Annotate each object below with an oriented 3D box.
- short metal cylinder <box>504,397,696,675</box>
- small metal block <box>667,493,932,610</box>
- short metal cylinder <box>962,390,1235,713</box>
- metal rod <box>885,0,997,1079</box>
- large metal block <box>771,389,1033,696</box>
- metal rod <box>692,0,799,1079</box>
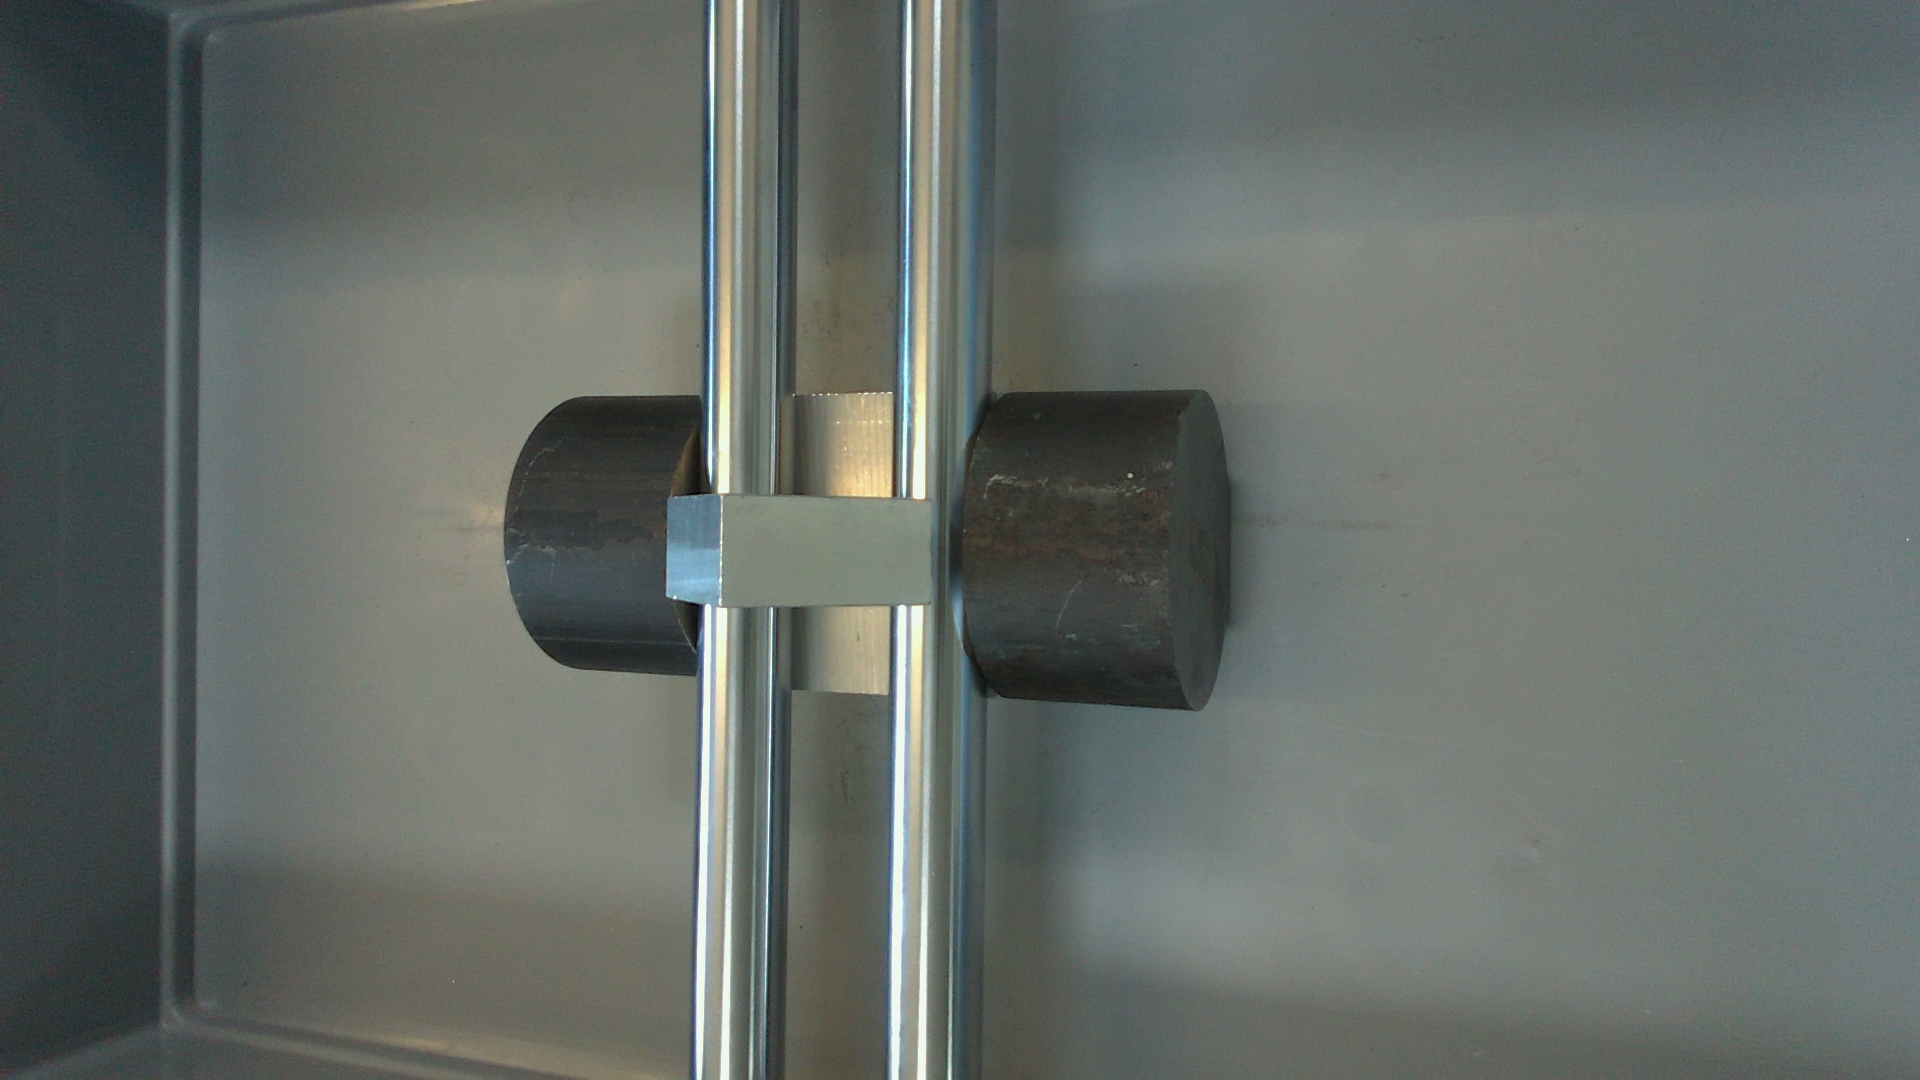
[{"bbox_3d":[-0.084,-0.002,0.396,0.050,0.080,0.080,1,91,20],"label":"short metal cylinder"},{"bbox_3d":[-0.040,0.002,0.329,0.050,0.050,0.025,-178,89,-64],"label":"small metal block"},{"bbox_3d":[0.038,0.003,0.351,0.050,0.080,0.080,1,90,21],"label":"short metal cylinder"},{"bbox_3d":[-0.005,0.003,0.344,0.025,0.025,0.300,1,90,20],"label":"metal rod"},{"bbox_3d":[-0.018,0.001,0.388,0.080,0.050,0.080,1,90,20],"label":"large metal block"},{"bbox_3d":[-0.056,0.005,0.362,0.025,0.025,0.300,1,90,20],"label":"metal rod"}]
